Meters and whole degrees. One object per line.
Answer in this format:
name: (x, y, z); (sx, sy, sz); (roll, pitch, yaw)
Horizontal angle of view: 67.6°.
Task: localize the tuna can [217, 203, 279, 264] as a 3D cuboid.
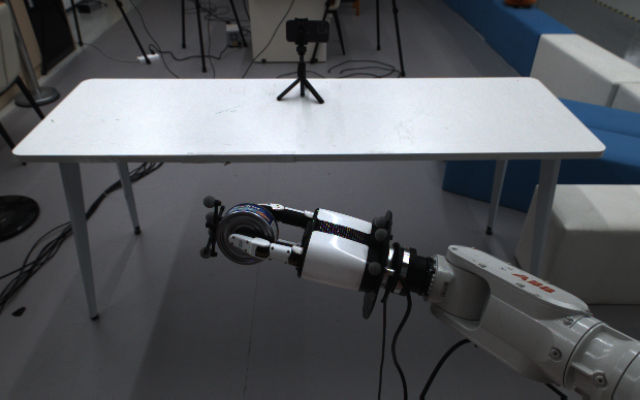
tuna can: (-0.103, 0.049, 0.694); (0.085, 0.085, 0.034); (4, 18, 3)
